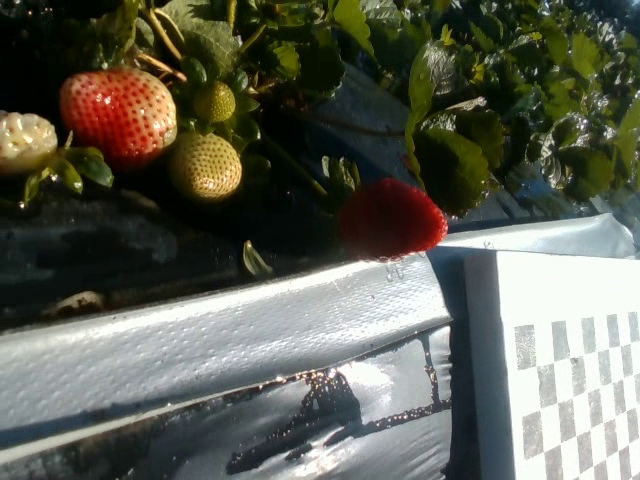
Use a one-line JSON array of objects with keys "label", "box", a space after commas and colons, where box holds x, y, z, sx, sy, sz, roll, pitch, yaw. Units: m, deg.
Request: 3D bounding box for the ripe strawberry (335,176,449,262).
[{"label": "ripe strawberry", "box": [0.026, -0.005, 0.215, 0.036, 0.038, 0.045, 0, 8, -43]}]
